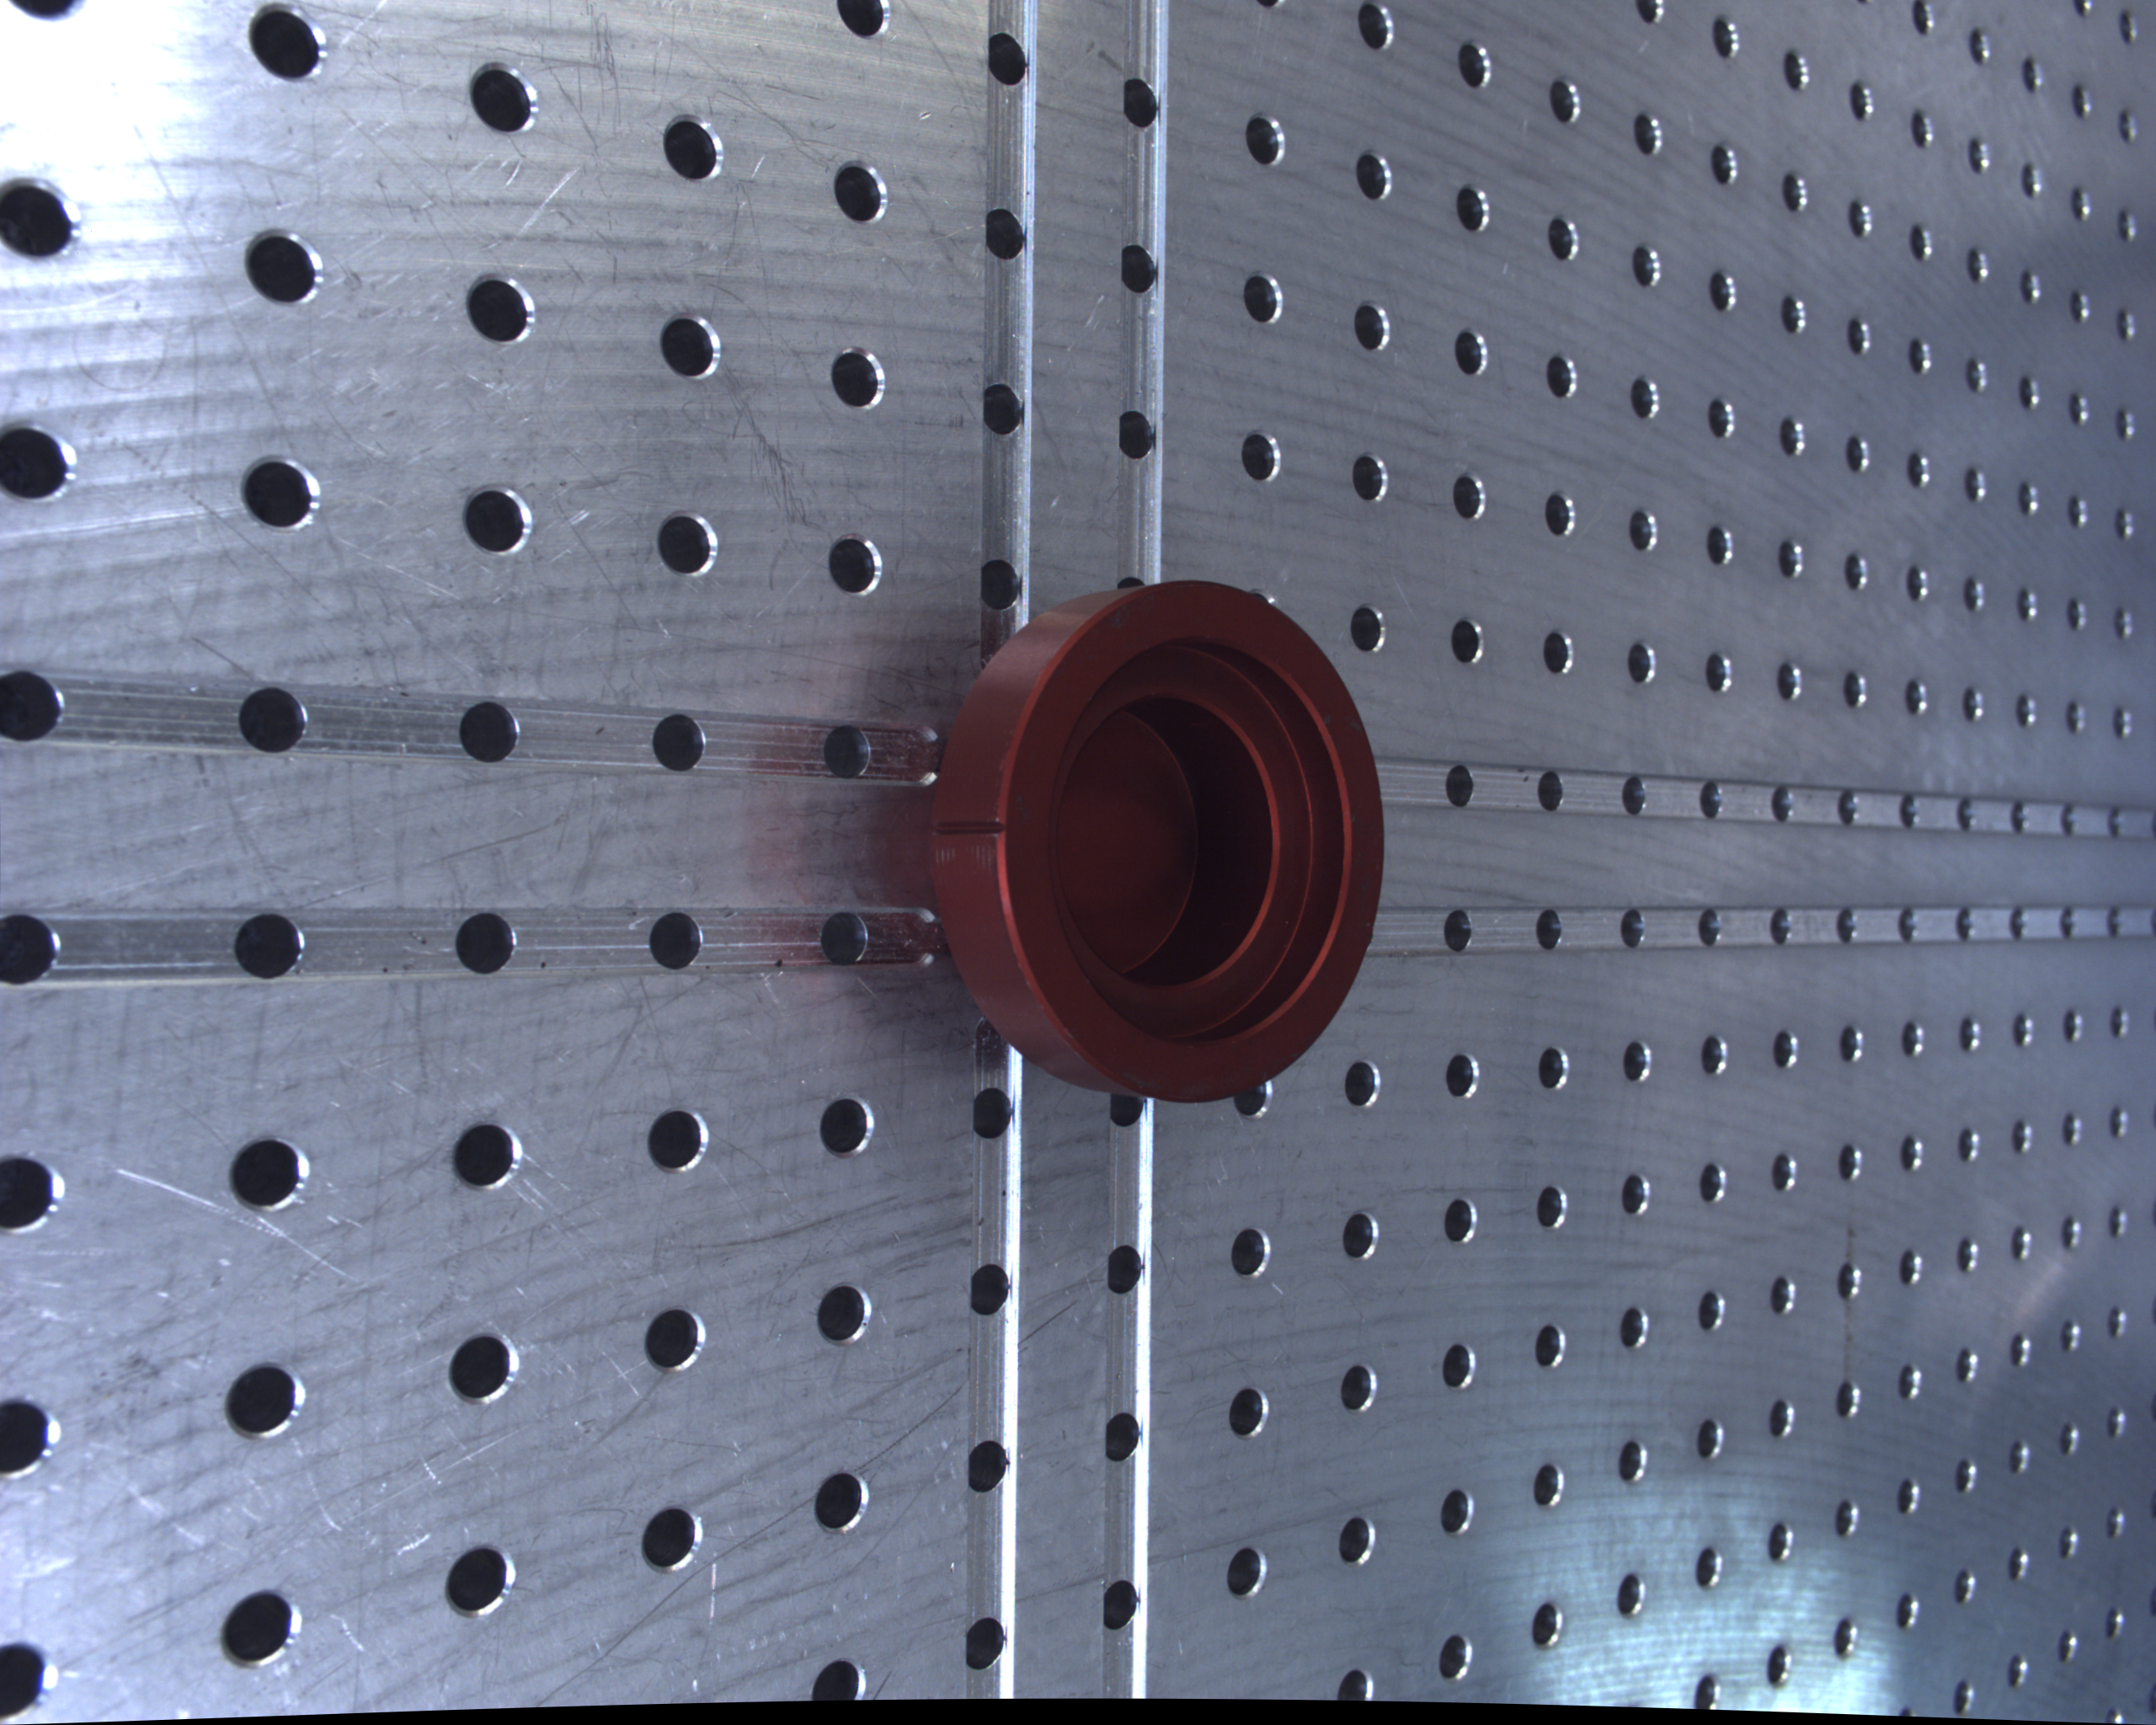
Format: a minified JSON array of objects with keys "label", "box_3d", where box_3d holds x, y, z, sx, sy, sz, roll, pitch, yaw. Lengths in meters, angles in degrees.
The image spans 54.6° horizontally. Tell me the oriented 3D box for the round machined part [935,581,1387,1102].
[{"label":"round machined part","box_3d":[0.012,-0.004,0.406,0.099,0.042,0.097,0,90,-40]}]
